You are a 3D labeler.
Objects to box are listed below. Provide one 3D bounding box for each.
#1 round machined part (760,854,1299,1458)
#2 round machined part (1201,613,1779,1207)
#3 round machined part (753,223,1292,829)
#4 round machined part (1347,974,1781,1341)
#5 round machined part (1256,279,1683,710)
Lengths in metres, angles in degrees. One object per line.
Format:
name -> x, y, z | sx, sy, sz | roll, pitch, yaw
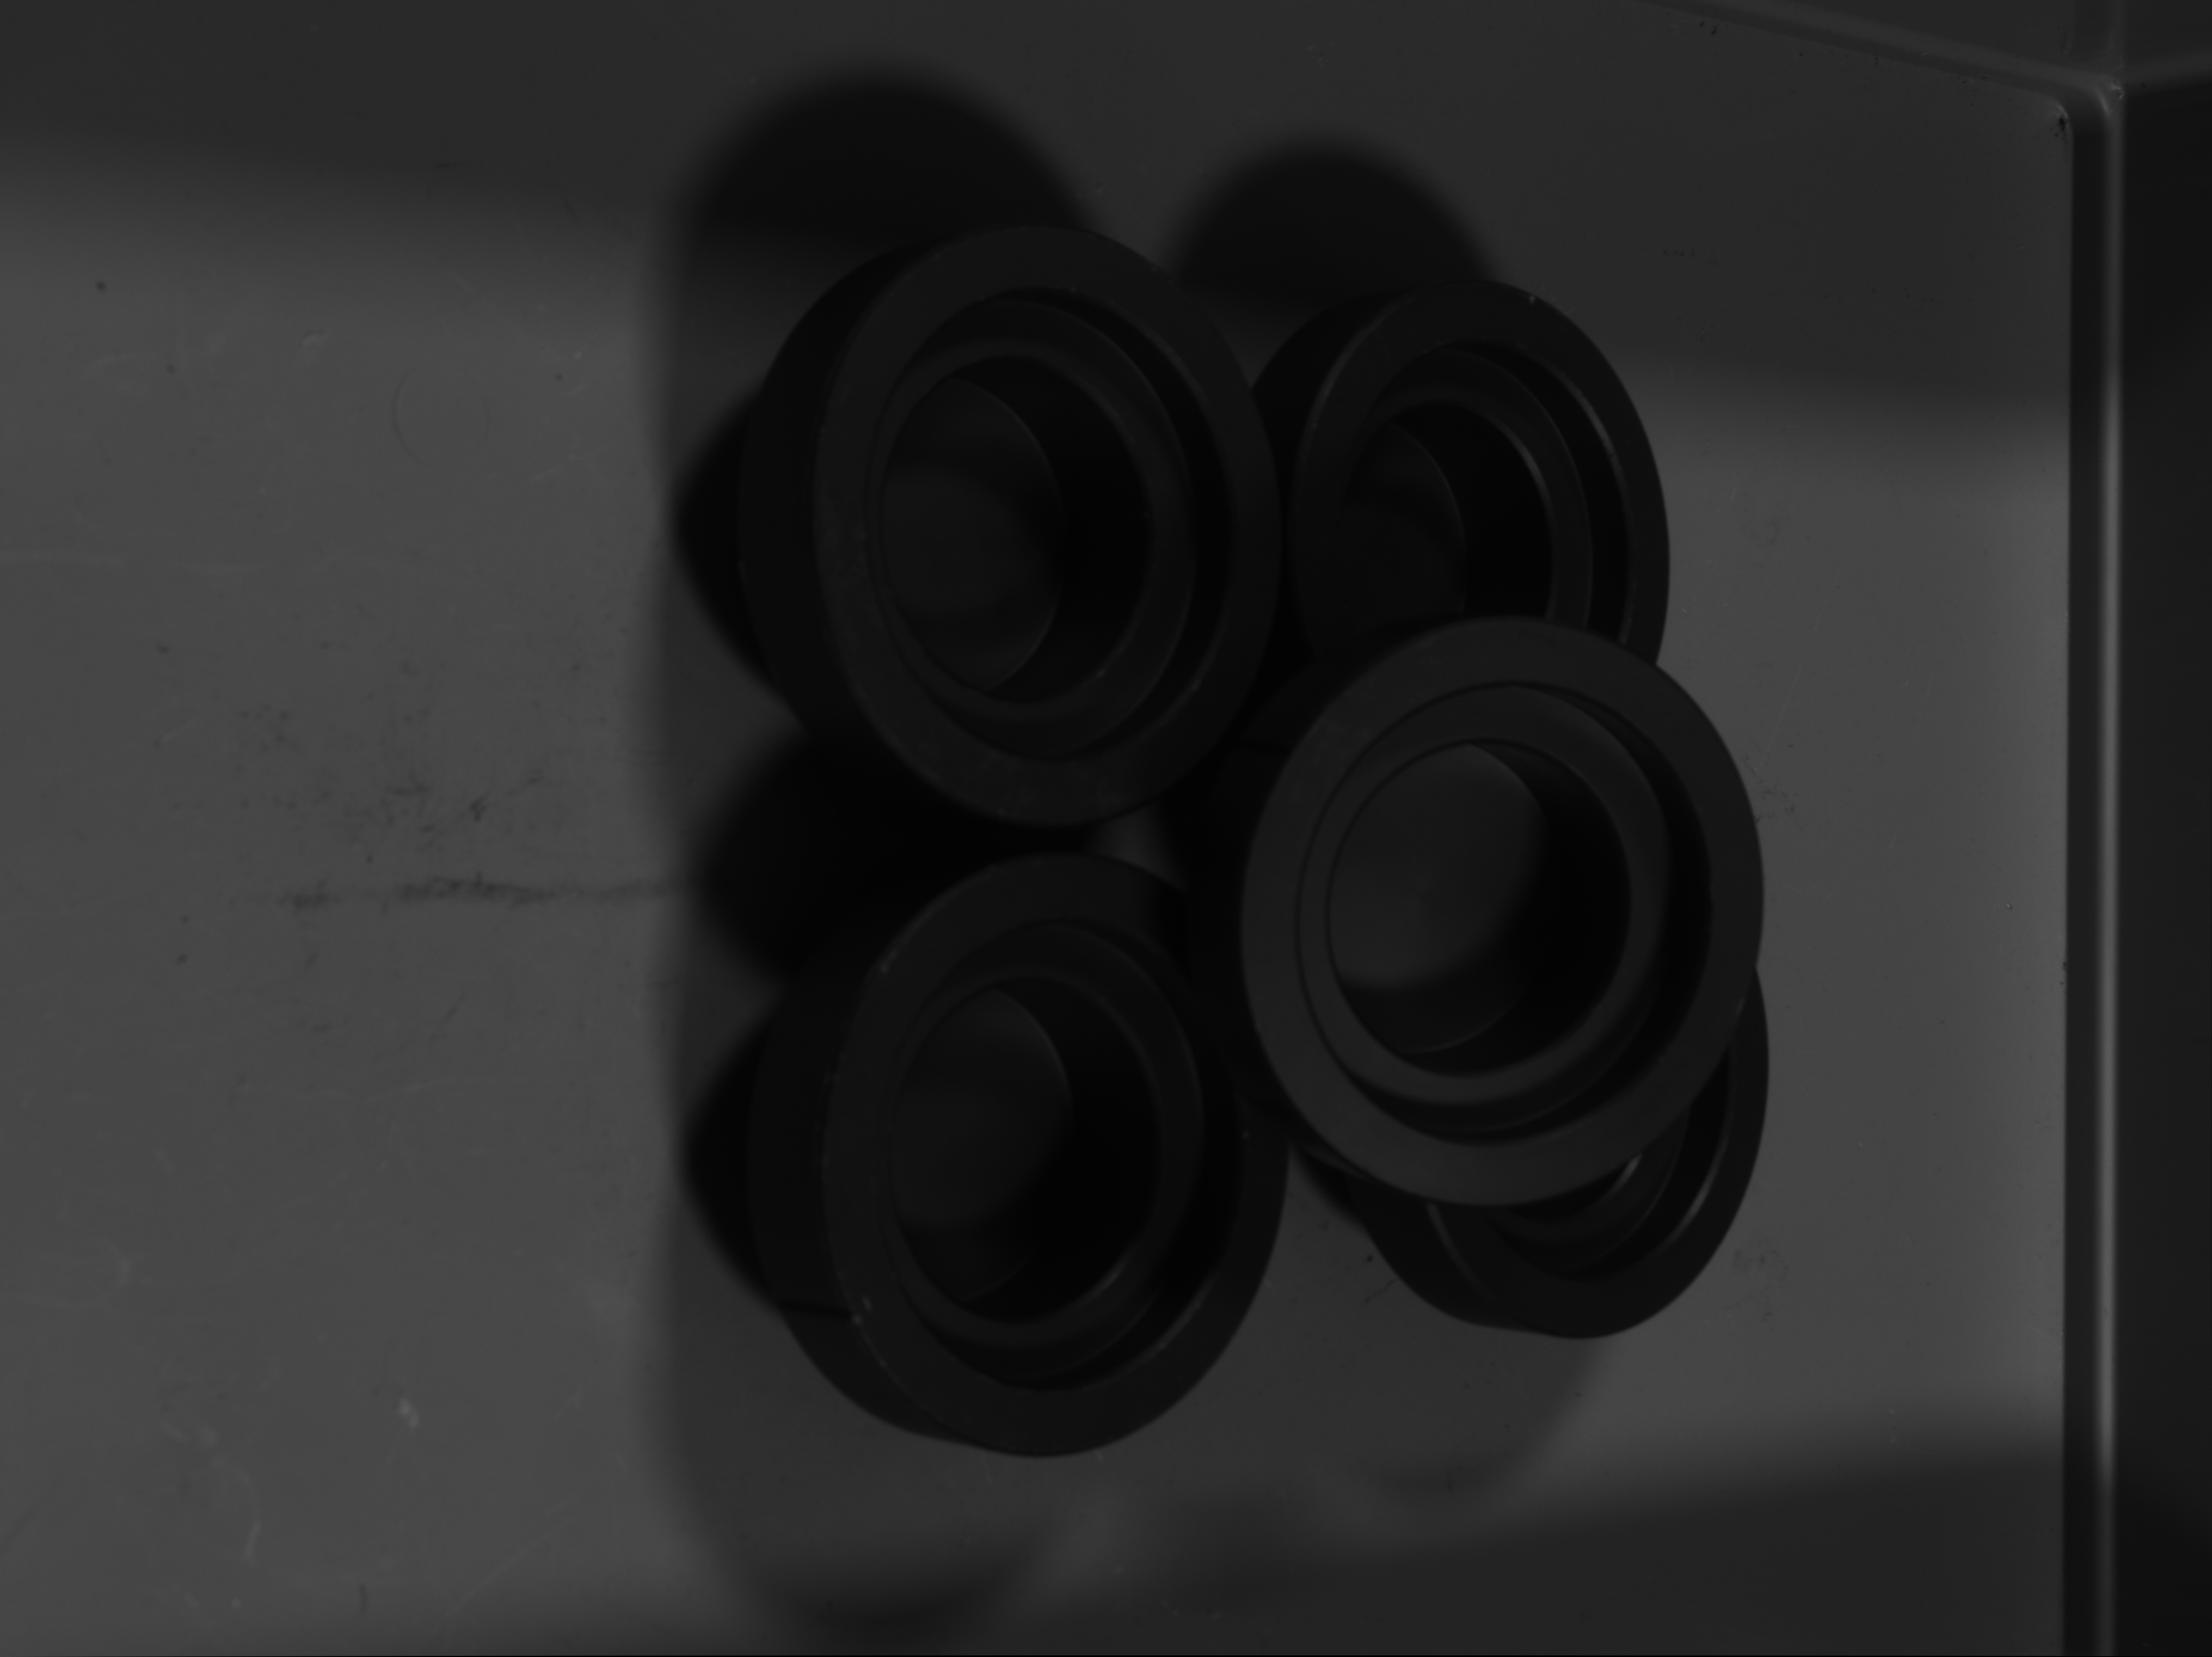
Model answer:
round machined part -> -0.017, 0.053, 0.610 | 0.098, 0.042, 0.098 | 0, 90, -40
round machined part -> 0.061, 0.012, 0.620 | 0.098, 0.042, 0.098 | -2, 95, -21
round machined part -> -0.019, -0.049, 0.609 | 0.098, 0.042, 0.098 | 0, 90, -40
round machined part -> 0.080, 0.045, 0.691 | 0.098, 0.042, 0.098 | 0, 90, -40
round machined part -> 0.058, -0.049, 0.673 | 0.098, 0.042, 0.098 | 0, 90, -40
